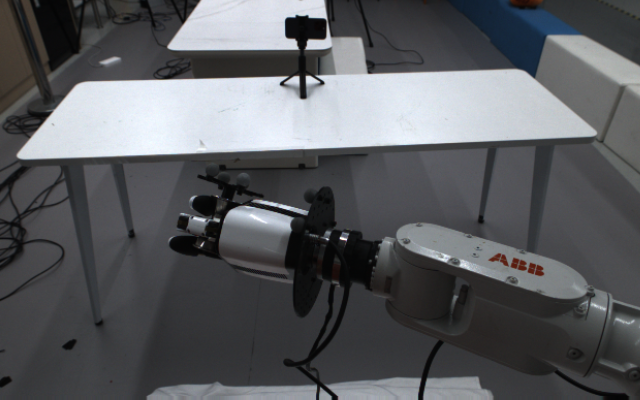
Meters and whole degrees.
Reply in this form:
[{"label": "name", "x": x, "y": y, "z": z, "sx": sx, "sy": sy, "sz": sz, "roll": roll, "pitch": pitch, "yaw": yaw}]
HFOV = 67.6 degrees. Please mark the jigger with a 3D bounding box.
[{"label": "jigger", "x": -0.128, "y": 0.031, "z": 0.610, "sx": 0.043, "sy": 0.071, "sz": 0.043, "roll": 18, "pitch": -6, "yaw": 2}]
